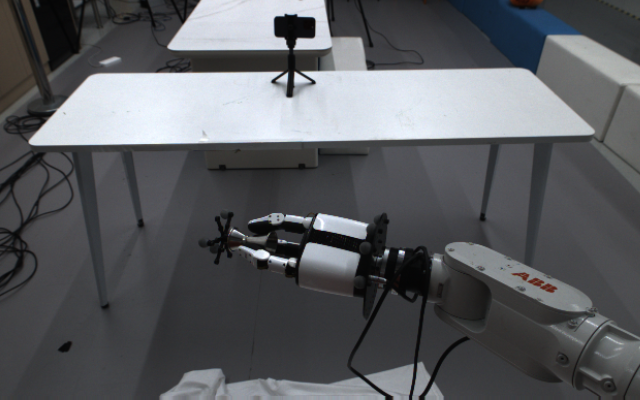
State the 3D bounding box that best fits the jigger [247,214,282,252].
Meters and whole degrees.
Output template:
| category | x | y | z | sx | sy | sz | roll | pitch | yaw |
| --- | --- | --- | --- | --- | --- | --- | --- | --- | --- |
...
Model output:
| category | x | y | z | sx | sy | sz | roll | pitch | yaw |
| --- | --- | --- | --- | --- | --- | --- | --- | --- | --- |
| jigger | -0.099 | 0.060 | 0.763 | 0.071 | 0.043 | 0.043 | 5 | 34 | 19 |
